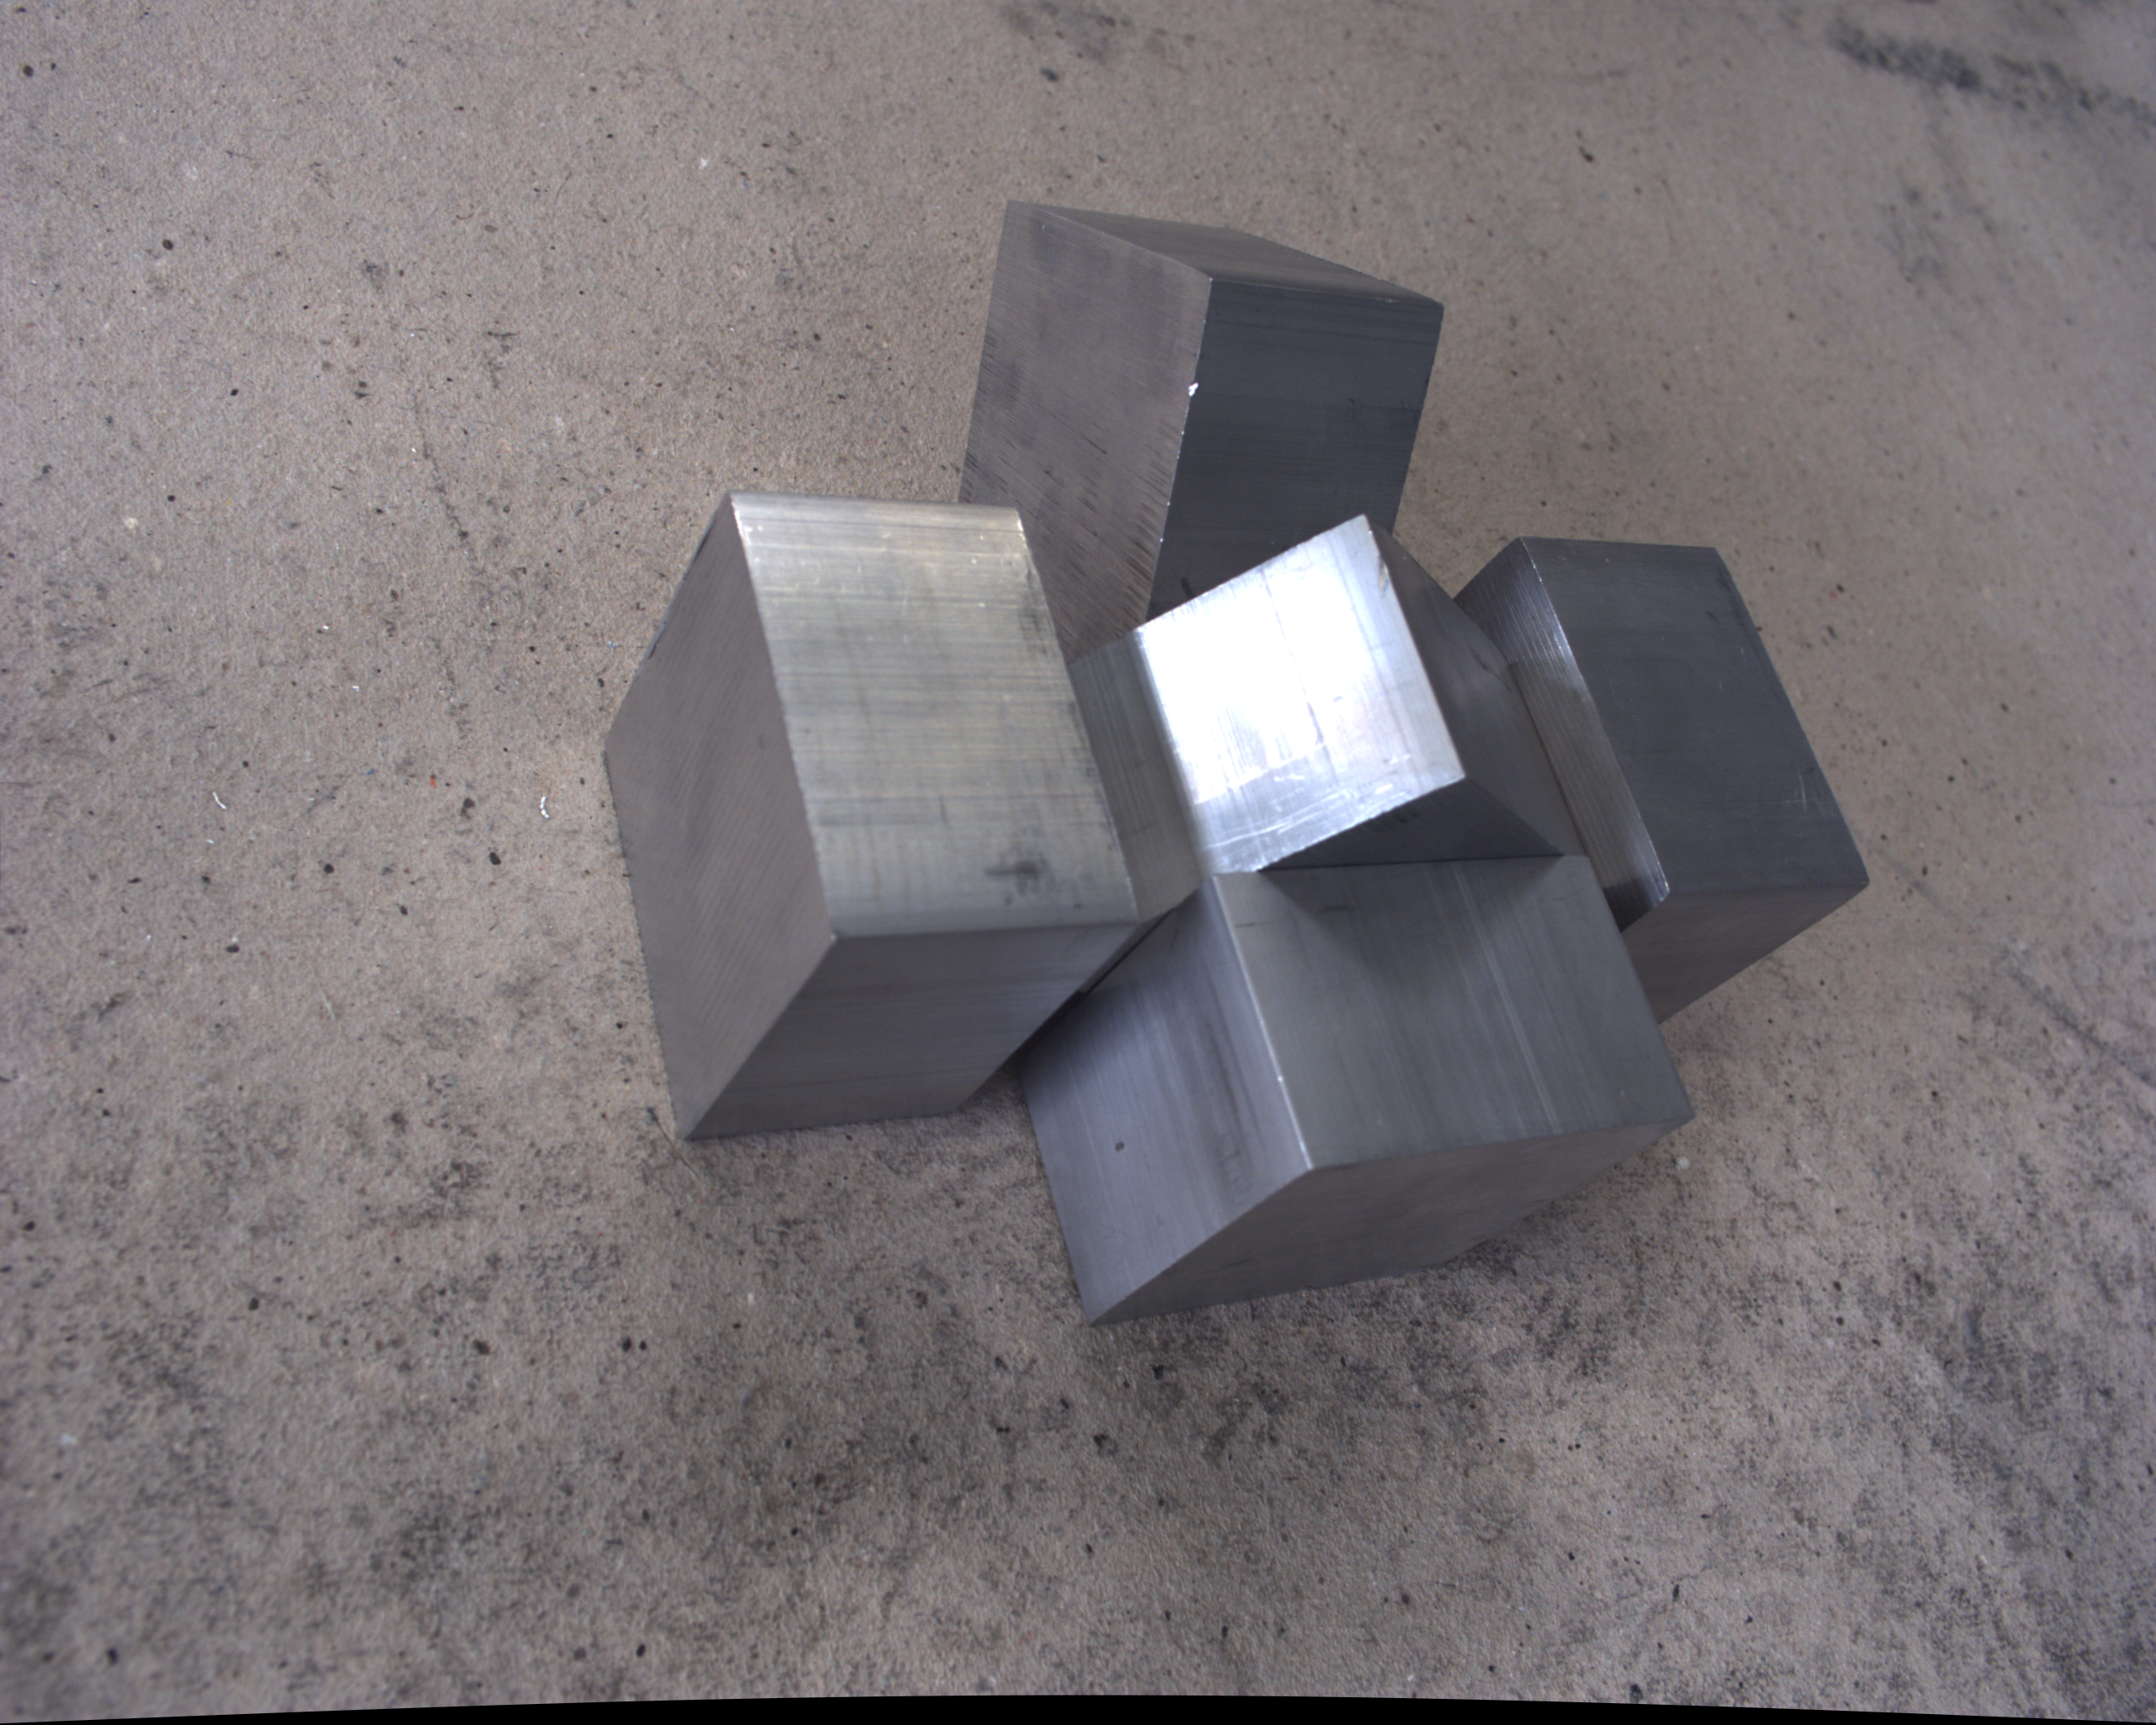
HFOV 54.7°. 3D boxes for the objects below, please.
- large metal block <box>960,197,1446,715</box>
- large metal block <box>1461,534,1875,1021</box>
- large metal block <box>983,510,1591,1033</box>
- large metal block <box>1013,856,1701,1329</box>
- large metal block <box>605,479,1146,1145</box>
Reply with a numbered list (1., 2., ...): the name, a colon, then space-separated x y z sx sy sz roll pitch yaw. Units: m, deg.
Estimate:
1. large metal block: 0.019 -0.081 0.410 0.050 0.079 0.080 -3 26 -29
2. large metal block: 0.102 -0.010 0.431 0.050 0.080 0.080 -2 62 -30
3. large metal block: 0.039 -0.010 0.378 0.080 0.080 0.050 28 41 -58
4. large metal block: 0.046 0.041 0.370 0.081 0.080 0.050 -3 63 -29
5. large metal block: -0.039 -0.007 0.352 0.050 0.080 0.080 -2 62 -30
